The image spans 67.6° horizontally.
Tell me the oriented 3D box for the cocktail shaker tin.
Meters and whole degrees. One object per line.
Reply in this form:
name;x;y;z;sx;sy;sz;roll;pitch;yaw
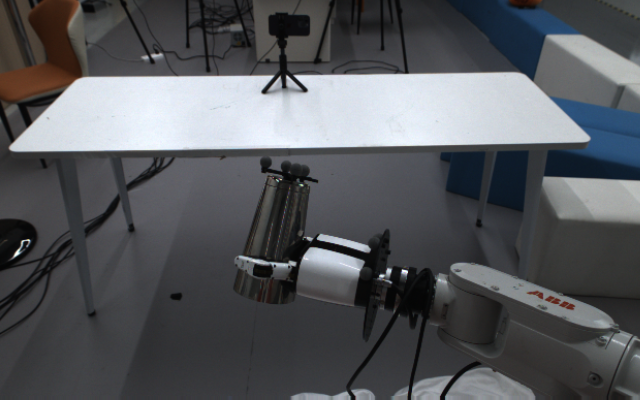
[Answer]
cocktail shaker tin;-0.064;0.054;0.704;0.093;0.170;0.093;12;4;-1
